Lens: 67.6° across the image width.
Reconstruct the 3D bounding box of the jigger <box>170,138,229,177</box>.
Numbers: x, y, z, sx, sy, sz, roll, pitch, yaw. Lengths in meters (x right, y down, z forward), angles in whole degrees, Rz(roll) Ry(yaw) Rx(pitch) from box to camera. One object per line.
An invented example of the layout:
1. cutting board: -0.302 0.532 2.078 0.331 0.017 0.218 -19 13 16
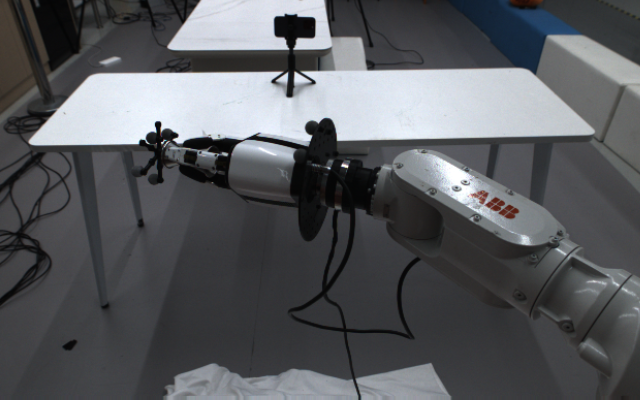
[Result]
1. jigger: -0.172 -0.061 0.665 0.071 0.043 0.043 10 35 16
